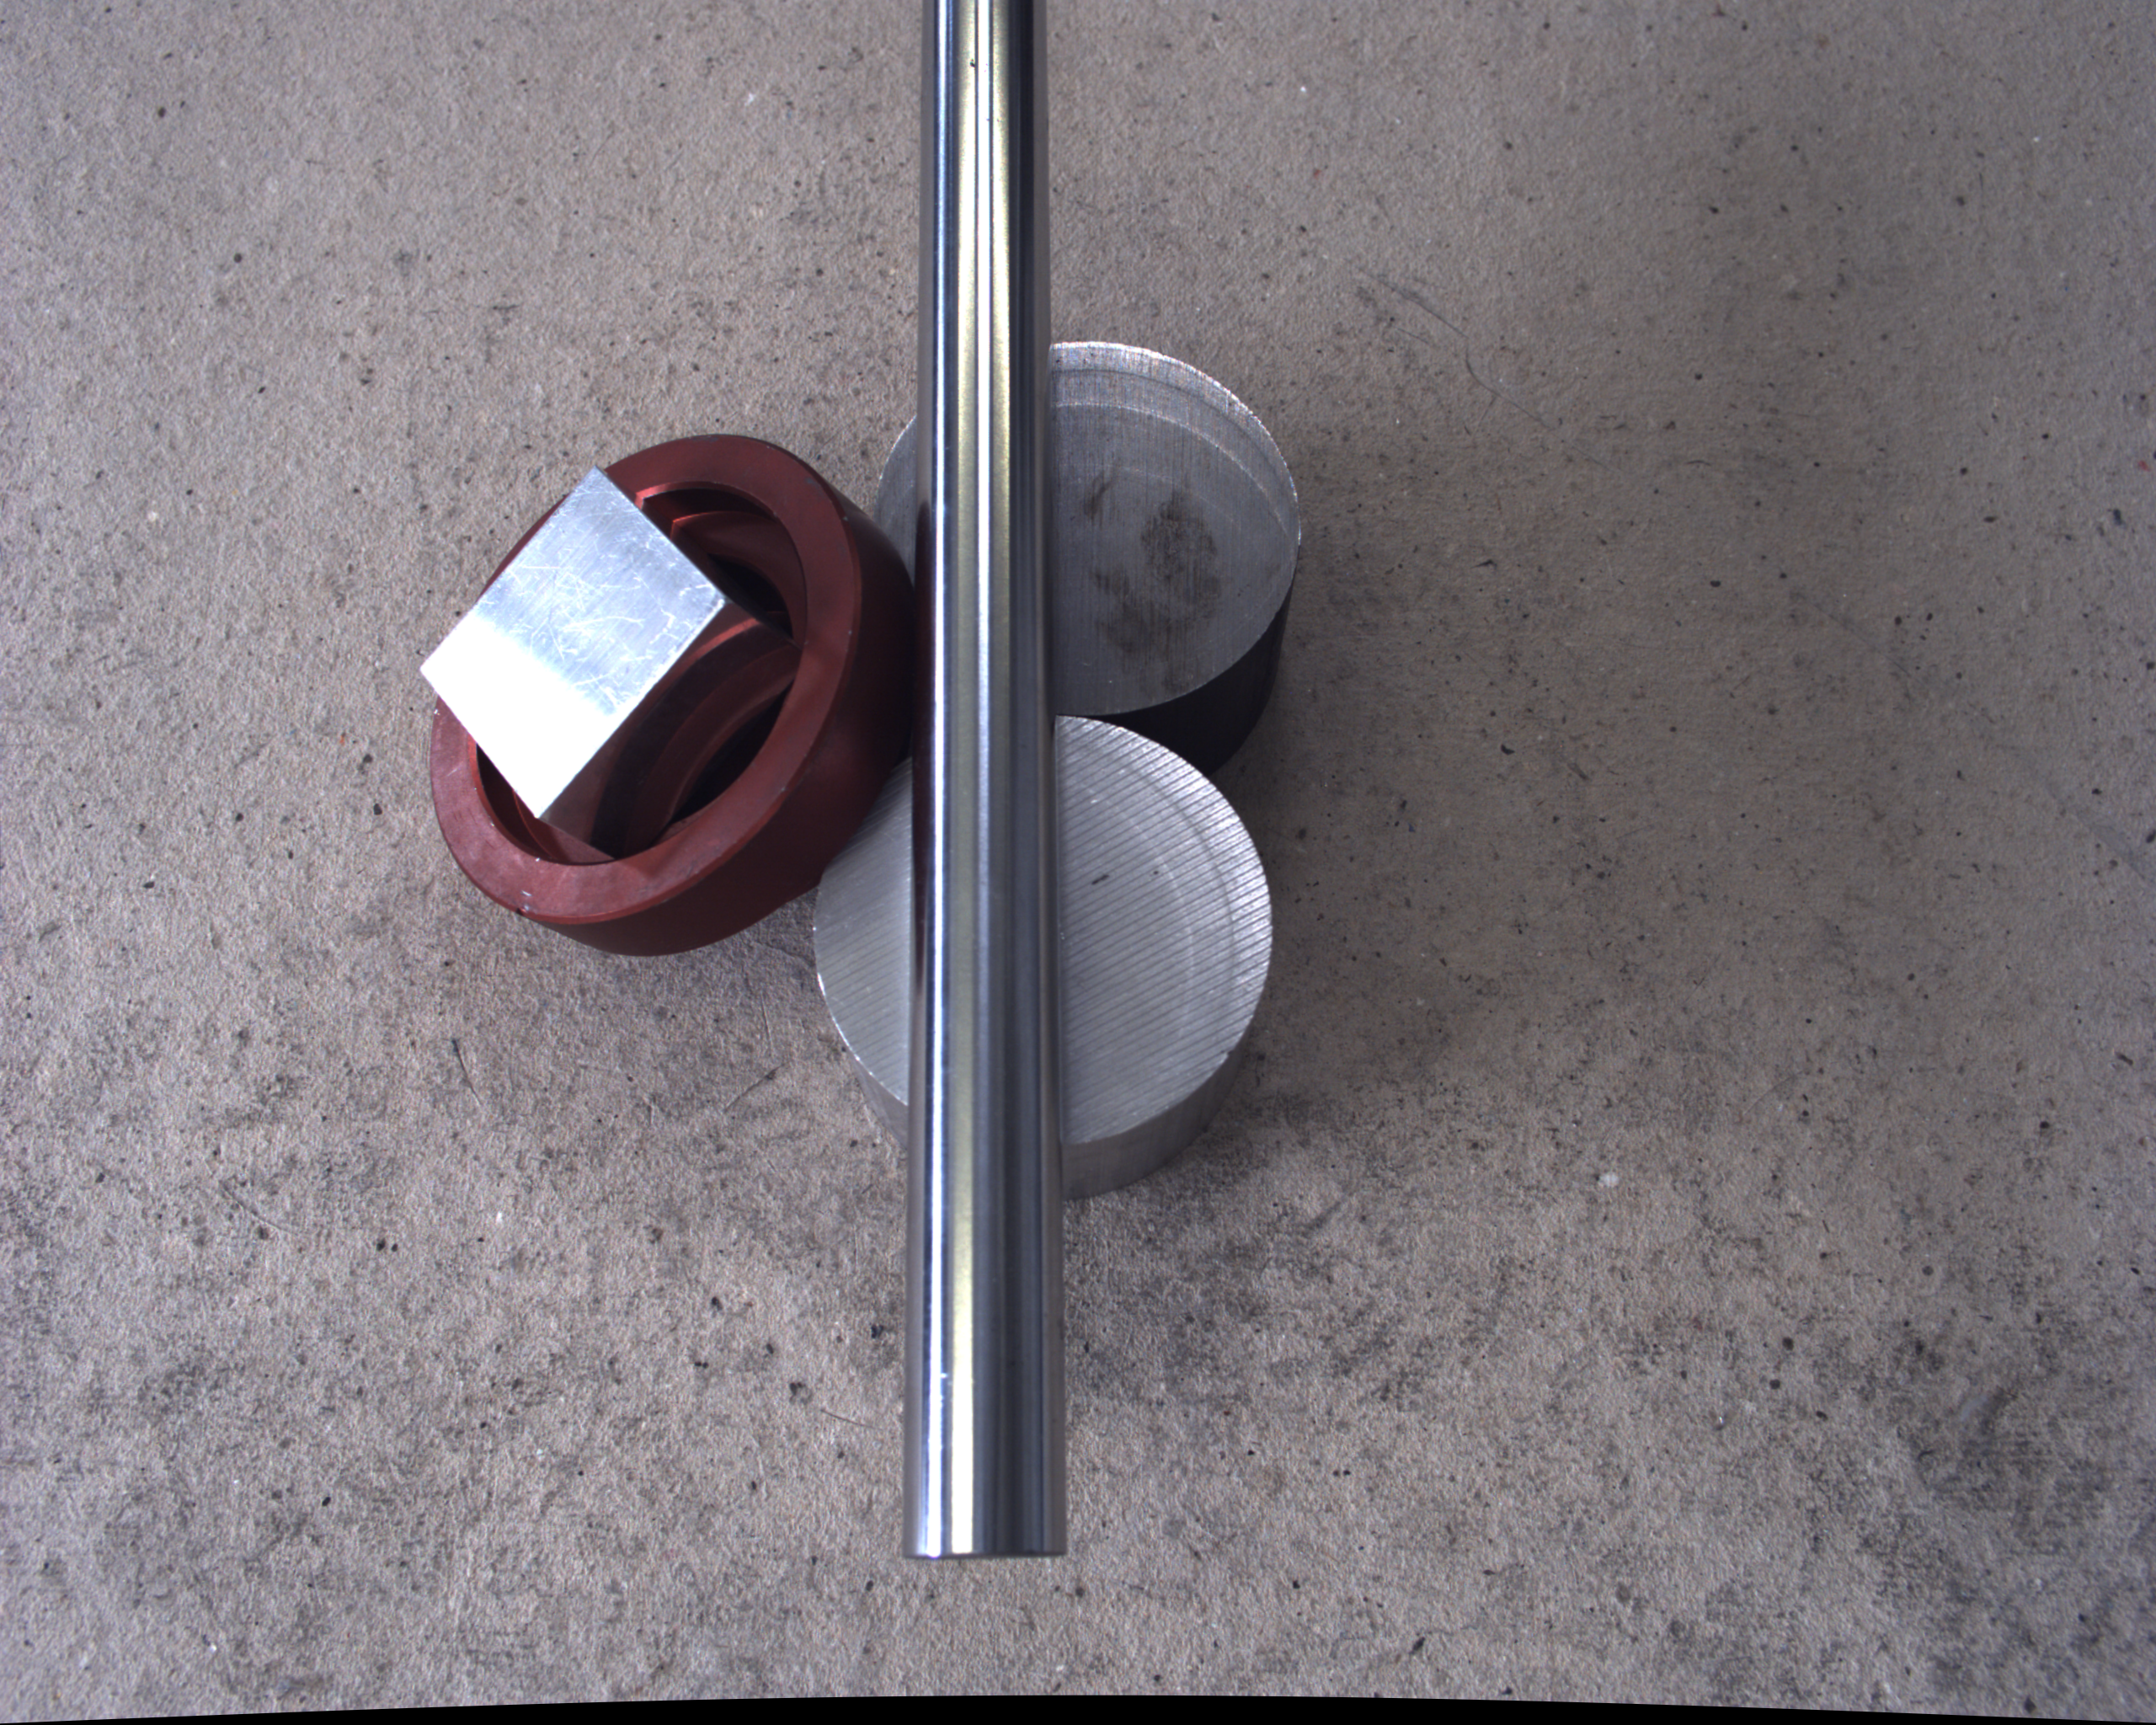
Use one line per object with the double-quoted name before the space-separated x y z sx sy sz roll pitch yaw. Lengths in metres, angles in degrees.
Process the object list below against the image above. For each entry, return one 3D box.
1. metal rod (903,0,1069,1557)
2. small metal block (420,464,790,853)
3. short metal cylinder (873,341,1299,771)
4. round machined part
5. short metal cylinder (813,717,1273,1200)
"metal rod" -0.016 -0.035 0.369 0.025 0.025 0.299 -1 70 0
"small metal block" -0.084 -0.036 0.379 0.050 0.025 0.050 -48 54 4
"short metal cylinder" 0.001 -0.056 0.417 0.081 0.050 0.080 0 70 0
"round machined part" -0.071 -0.028 0.396 0.098 0.042 0.098 -12 64 26
"short metal cylinder" -0.006 0.019 0.388 0.081 0.050 0.080 0 69 0
